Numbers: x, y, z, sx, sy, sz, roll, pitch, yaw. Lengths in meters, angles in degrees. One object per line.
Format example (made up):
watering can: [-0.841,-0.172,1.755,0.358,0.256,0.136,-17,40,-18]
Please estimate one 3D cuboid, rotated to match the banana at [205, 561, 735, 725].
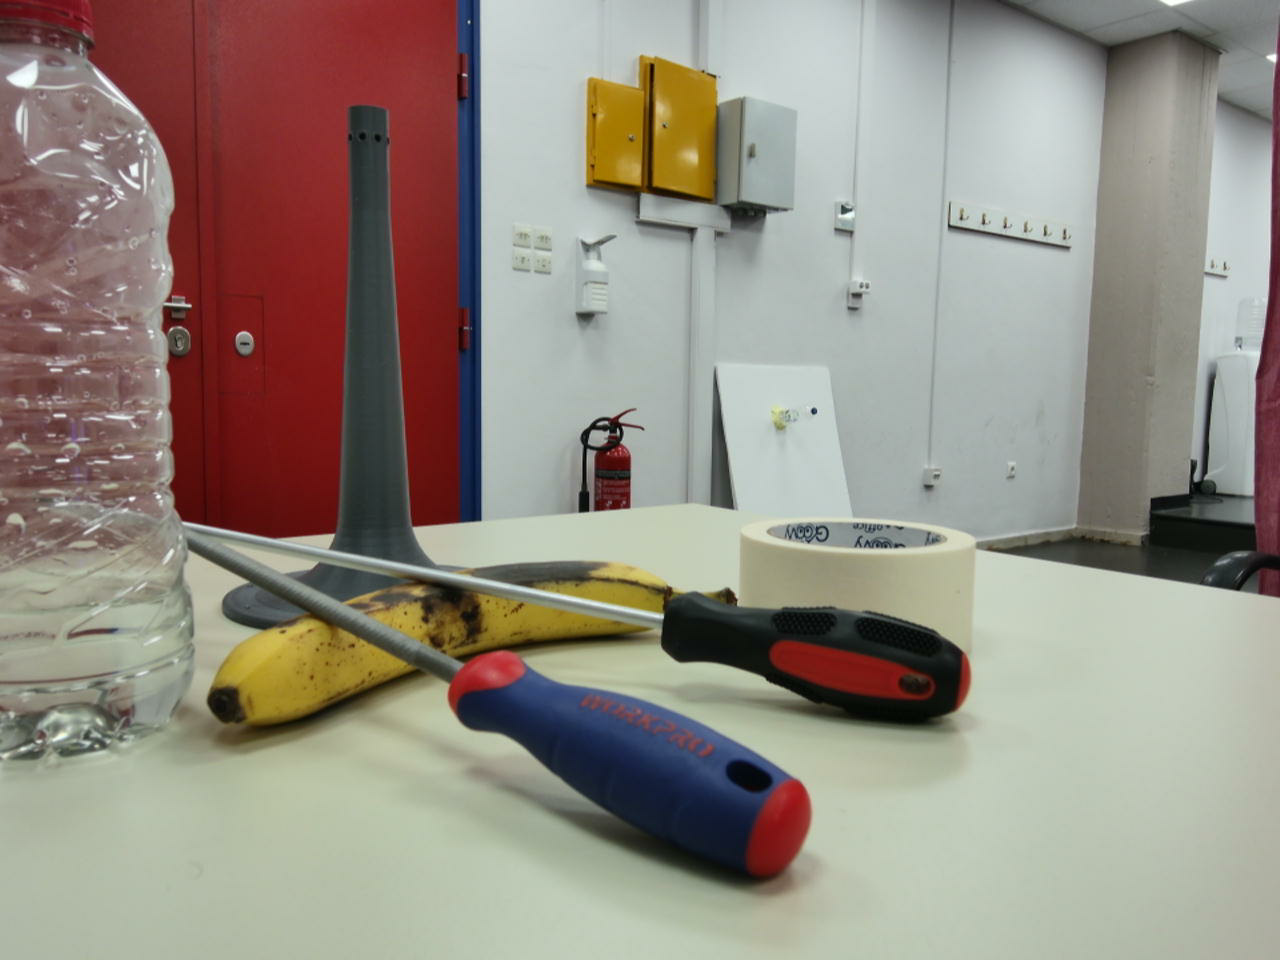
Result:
banana: [-0.067,0.058,0.405,0.222,0.037,0.084,-3,5,-39]
